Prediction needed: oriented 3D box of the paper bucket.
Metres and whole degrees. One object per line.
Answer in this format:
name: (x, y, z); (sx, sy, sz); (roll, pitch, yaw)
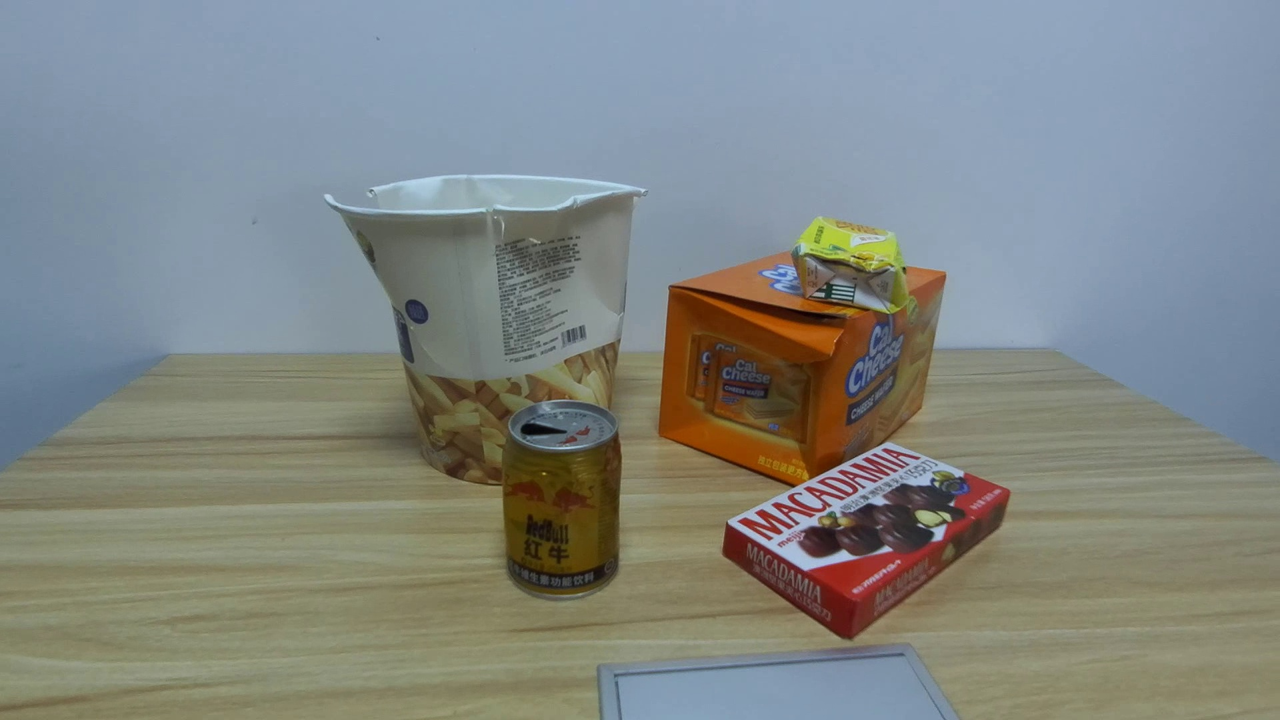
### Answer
paper bucket: (-0.098, -0.030, 0.524); (0.145, 0.197, 0.203); (11, 23, 25)

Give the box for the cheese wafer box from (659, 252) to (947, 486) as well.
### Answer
cheese wafer box: (0.140, -0.009, 0.587); (0.149, 0.137, 0.228); (18, 26, 35)

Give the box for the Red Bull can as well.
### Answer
Red Bull can: (-0.042, 0.076, 0.398); (0.068, 0.093, 0.068); (2, 20, 0)

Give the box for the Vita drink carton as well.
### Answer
Vita drink carton: (0.157, -0.070, 0.526); (0.087, 0.042, 0.108); (16, 26, 12)

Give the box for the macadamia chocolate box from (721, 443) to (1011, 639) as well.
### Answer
macadamia chocolate box: (0.146, 0.102, 0.443); (0.179, 0.027, 0.095); (-14, 26, -37)
